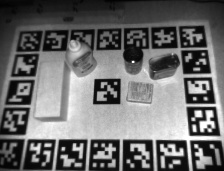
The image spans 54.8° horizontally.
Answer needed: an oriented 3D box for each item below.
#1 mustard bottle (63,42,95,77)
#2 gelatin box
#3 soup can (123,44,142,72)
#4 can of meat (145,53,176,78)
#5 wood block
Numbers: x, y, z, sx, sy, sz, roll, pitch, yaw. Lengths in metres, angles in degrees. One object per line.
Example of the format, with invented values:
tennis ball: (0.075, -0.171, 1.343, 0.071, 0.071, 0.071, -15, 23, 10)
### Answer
mustard bottle: (-0.123, -0.098, 0.763, 0.096, 0.192, 0.058, -26, 69, -5)
gelatin box: (0.096, 0.025, 0.778, 0.089, 0.030, 0.073, 8, 74, 10)
soup can: (0.073, -0.098, 0.780, 0.068, 0.102, 0.068, -2, 72, 6)
can of meat: (0.172, -0.073, 0.782, 0.102, 0.084, 0.057, -14, 70, -2)
wood block: (-0.218, 0.020, 0.779, 0.091, 0.090, 0.205, 0, 67, 4)
